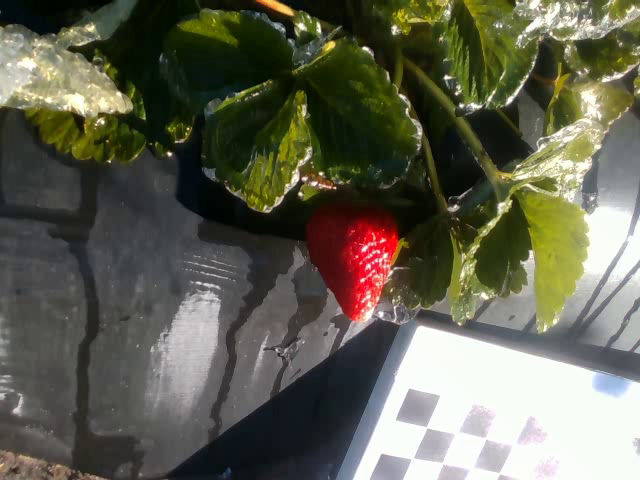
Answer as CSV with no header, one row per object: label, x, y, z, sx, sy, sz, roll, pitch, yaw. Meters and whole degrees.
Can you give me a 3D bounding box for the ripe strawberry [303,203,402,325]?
ripe strawberry,0.014,0.010,0.246,0.041,0.053,0.047,10,-21,-18
